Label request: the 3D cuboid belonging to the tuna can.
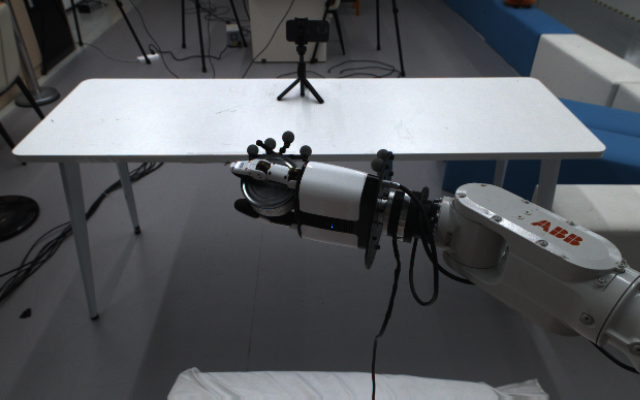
[{"bbox_3d":[-0.066,-0.020,0.683,0.085,0.034,0.085,-3,61,6],"label":"tuna can"}]
